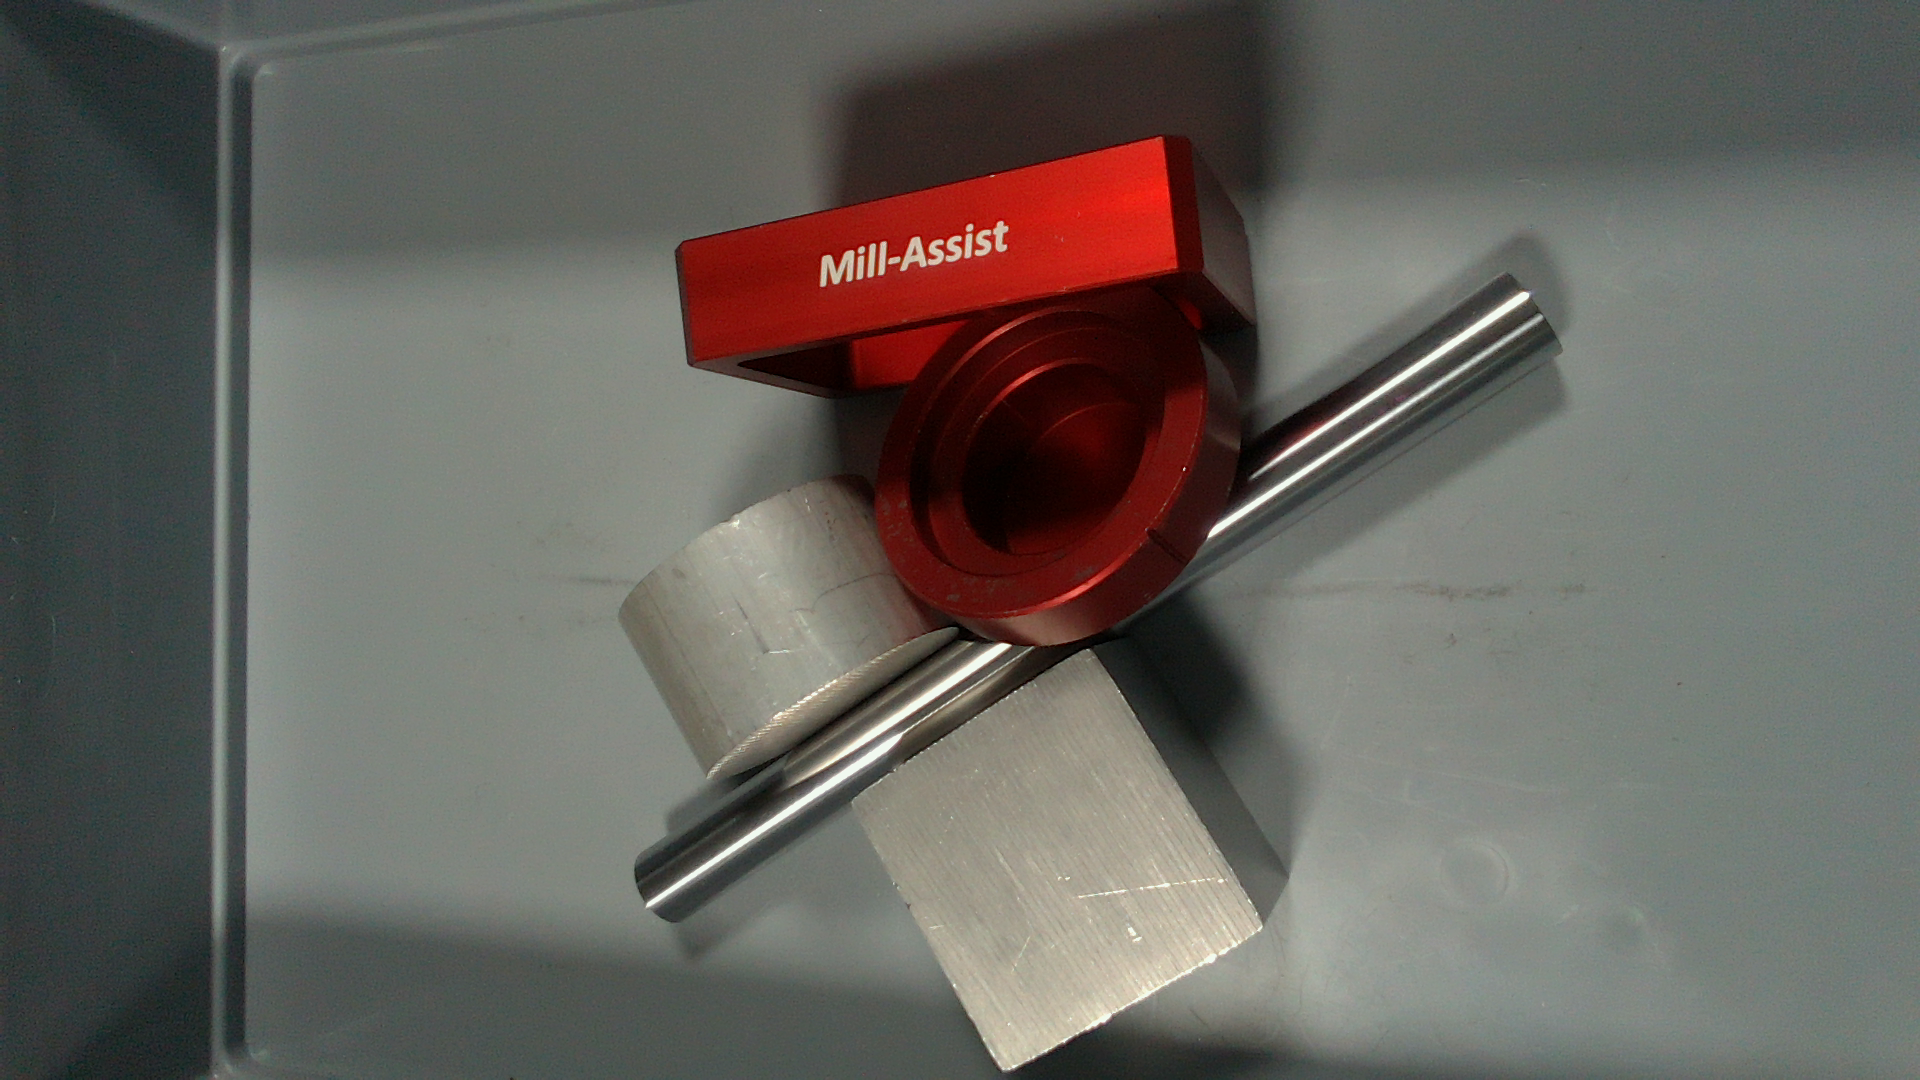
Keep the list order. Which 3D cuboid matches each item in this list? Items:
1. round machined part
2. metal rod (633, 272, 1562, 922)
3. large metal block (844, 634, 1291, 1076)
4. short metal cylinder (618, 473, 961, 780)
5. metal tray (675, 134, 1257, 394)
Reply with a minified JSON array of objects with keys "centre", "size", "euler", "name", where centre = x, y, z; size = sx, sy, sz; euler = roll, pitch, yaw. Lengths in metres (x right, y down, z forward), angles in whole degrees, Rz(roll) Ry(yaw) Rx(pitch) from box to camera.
[{"centre":[0.029,-0.018,0.360],"size":[0.098,0.042,0.098],"euler":[-17,57,28],"name":"round machined part"},{"centre":[0.025,0.025,0.386],"size":[0.299,0.025,0.025],"euler":[-35,79,17],"name":"metal rod"},{"centre":[0.030,0.081,0.369],"size":[0.080,0.050,0.080],"euler":[-35,79,17],"name":"large metal block"},{"centre":[-0.047,0.025,0.383],"size":[0.080,0.080,0.050],"euler":[-35,79,17],"name":"short metal cylinder"},{"centre":[0.005,-0.066,0.357],"size":[0.130,0.090,0.030],"euler":[-7,88,19],"name":"metal tray"}]
